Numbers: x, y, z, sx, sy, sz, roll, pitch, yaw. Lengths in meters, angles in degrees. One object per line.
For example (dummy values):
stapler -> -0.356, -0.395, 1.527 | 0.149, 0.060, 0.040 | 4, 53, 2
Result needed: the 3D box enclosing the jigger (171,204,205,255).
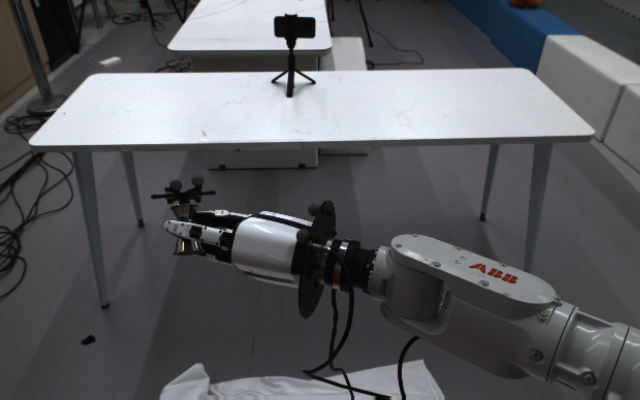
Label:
jigger -> -0.188, 0.042, 0.688 | 0.043, 0.043, 0.071 | -6, 79, -12
